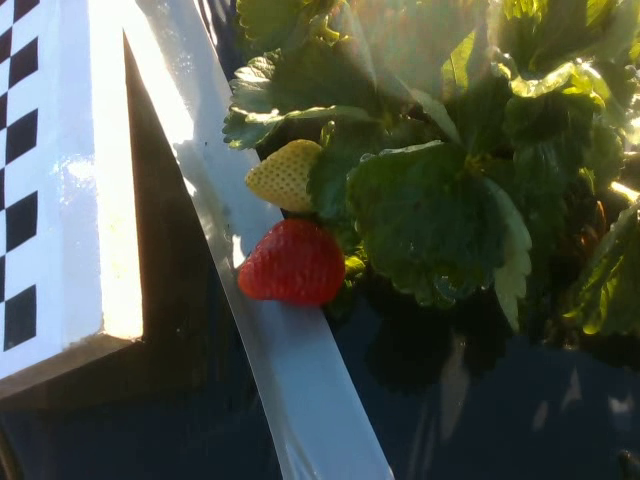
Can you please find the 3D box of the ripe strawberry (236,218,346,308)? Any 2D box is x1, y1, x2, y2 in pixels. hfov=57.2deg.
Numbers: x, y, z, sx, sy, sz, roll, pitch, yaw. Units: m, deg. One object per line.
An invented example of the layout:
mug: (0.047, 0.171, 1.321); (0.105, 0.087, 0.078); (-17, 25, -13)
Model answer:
ripe strawberry: (-0.014, 0.011, 0.257); (0.045, 0.049, 0.063); (2, 15, 37)
